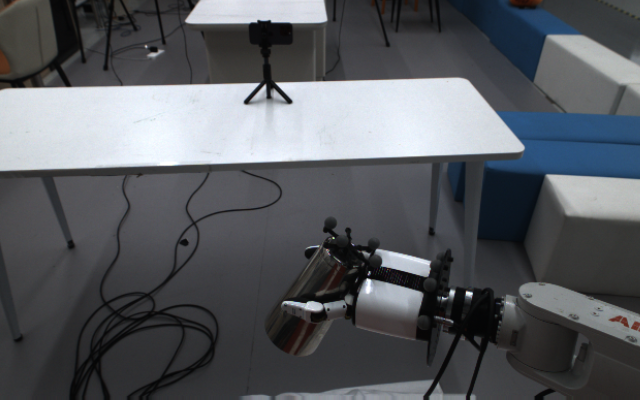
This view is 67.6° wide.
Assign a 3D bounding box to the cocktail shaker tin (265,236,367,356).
[{"bbox_3d":[-0.004,0.130,0.704,0.093,0.170,0.093,25,29,-15],"label":"cocktail shaker tin"}]
